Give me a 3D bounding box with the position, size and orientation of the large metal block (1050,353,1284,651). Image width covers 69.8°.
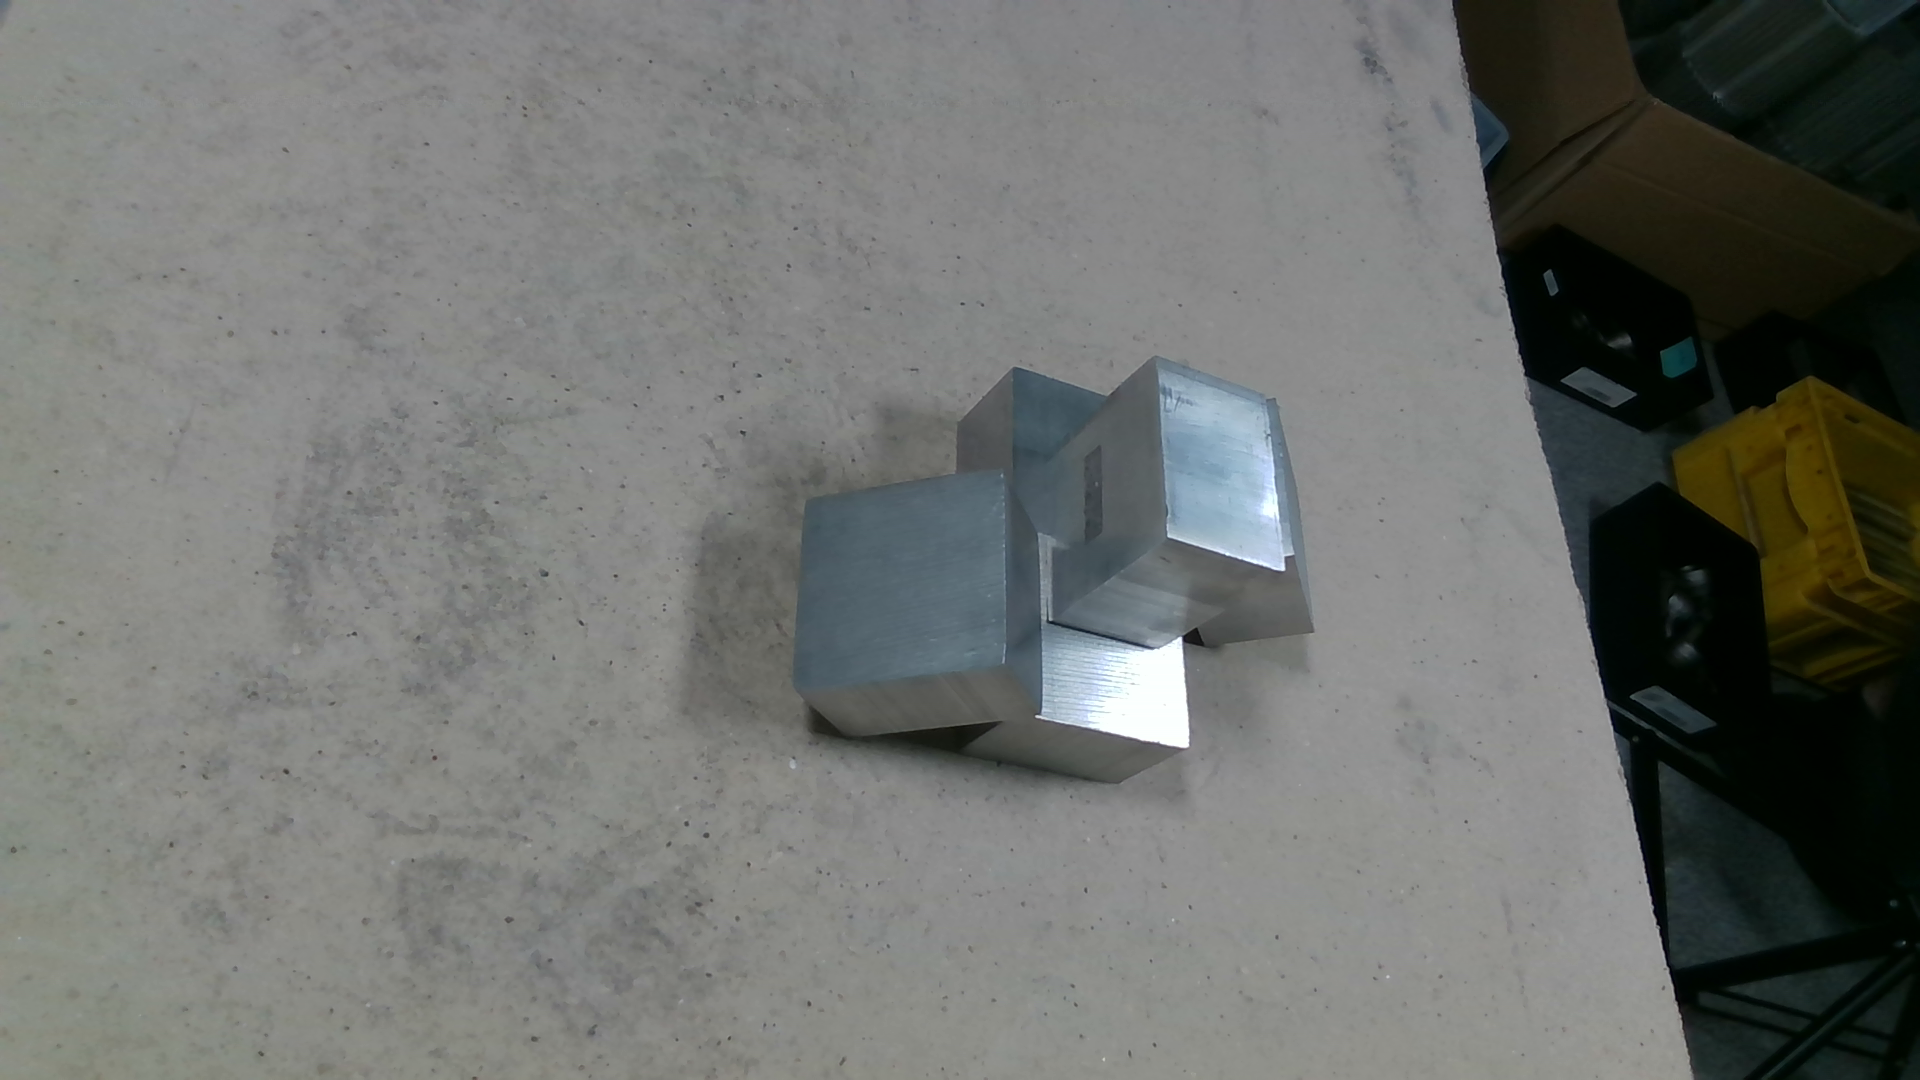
[{"bbox_3d":[0.078,-0.013,0.541,0.050,0.080,0.080,15,58,-24],"label":"large metal block"}]

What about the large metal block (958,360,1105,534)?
[{"bbox_3d":[0.046,-0.022,0.608,0.080,0.050,0.080,15,58,-24],"label":"large metal block"}]

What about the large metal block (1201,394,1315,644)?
[{"bbox_3d":[0.127,-0.007,0.625,0.080,0.050,0.080,57,29,-56],"label":"large metal block"}]

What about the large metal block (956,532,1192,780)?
[{"bbox_3d":[0.046,0.049,0.570,0.080,0.050,0.080,15,58,-24],"label":"large metal block"}]

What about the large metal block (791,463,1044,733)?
[{"bbox_3d":[-0.014,0.024,0.521,0.050,0.080,0.080,56,30,-57],"label":"large metal block"}]
